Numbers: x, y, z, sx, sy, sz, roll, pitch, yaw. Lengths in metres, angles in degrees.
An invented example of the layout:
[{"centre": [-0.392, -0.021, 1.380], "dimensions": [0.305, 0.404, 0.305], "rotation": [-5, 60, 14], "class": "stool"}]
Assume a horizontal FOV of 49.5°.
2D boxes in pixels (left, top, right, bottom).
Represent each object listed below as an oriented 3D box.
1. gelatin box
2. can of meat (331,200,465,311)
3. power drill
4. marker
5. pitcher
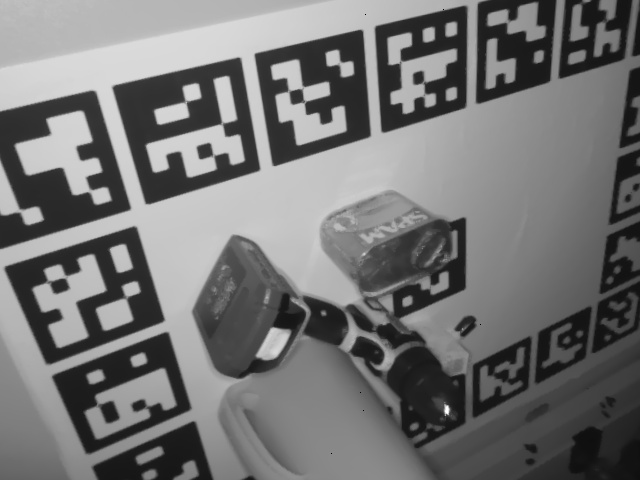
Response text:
[{"centre": [0.122, 0.136, 0.753], "dimensions": [0.090, 0.073, 0.030], "rotation": [-11, 114, -22], "class": "gelatin box"}, {"centre": [0.071, 0.011, 0.658], "dimensions": [0.103, 0.083, 0.057], "rotation": [-22, 123, -17], "class": "can of meat"}, {"centre": [0.041, 0.108, 0.630], "dimensions": [0.189, 0.183, 0.057], "rotation": [15, 103, -26], "class": "power drill"}, {"centre": [0.170, 0.154, 0.816], "dimensions": [0.121, 0.019, 0.020], "rotation": [-45, 125, -4], "class": "marker"}, {"centre": [0.026, 0.221, 0.646], "dimensions": [0.191, 0.240, 0.132], "rotation": [9, 105, -38], "class": "pitcher"}]
